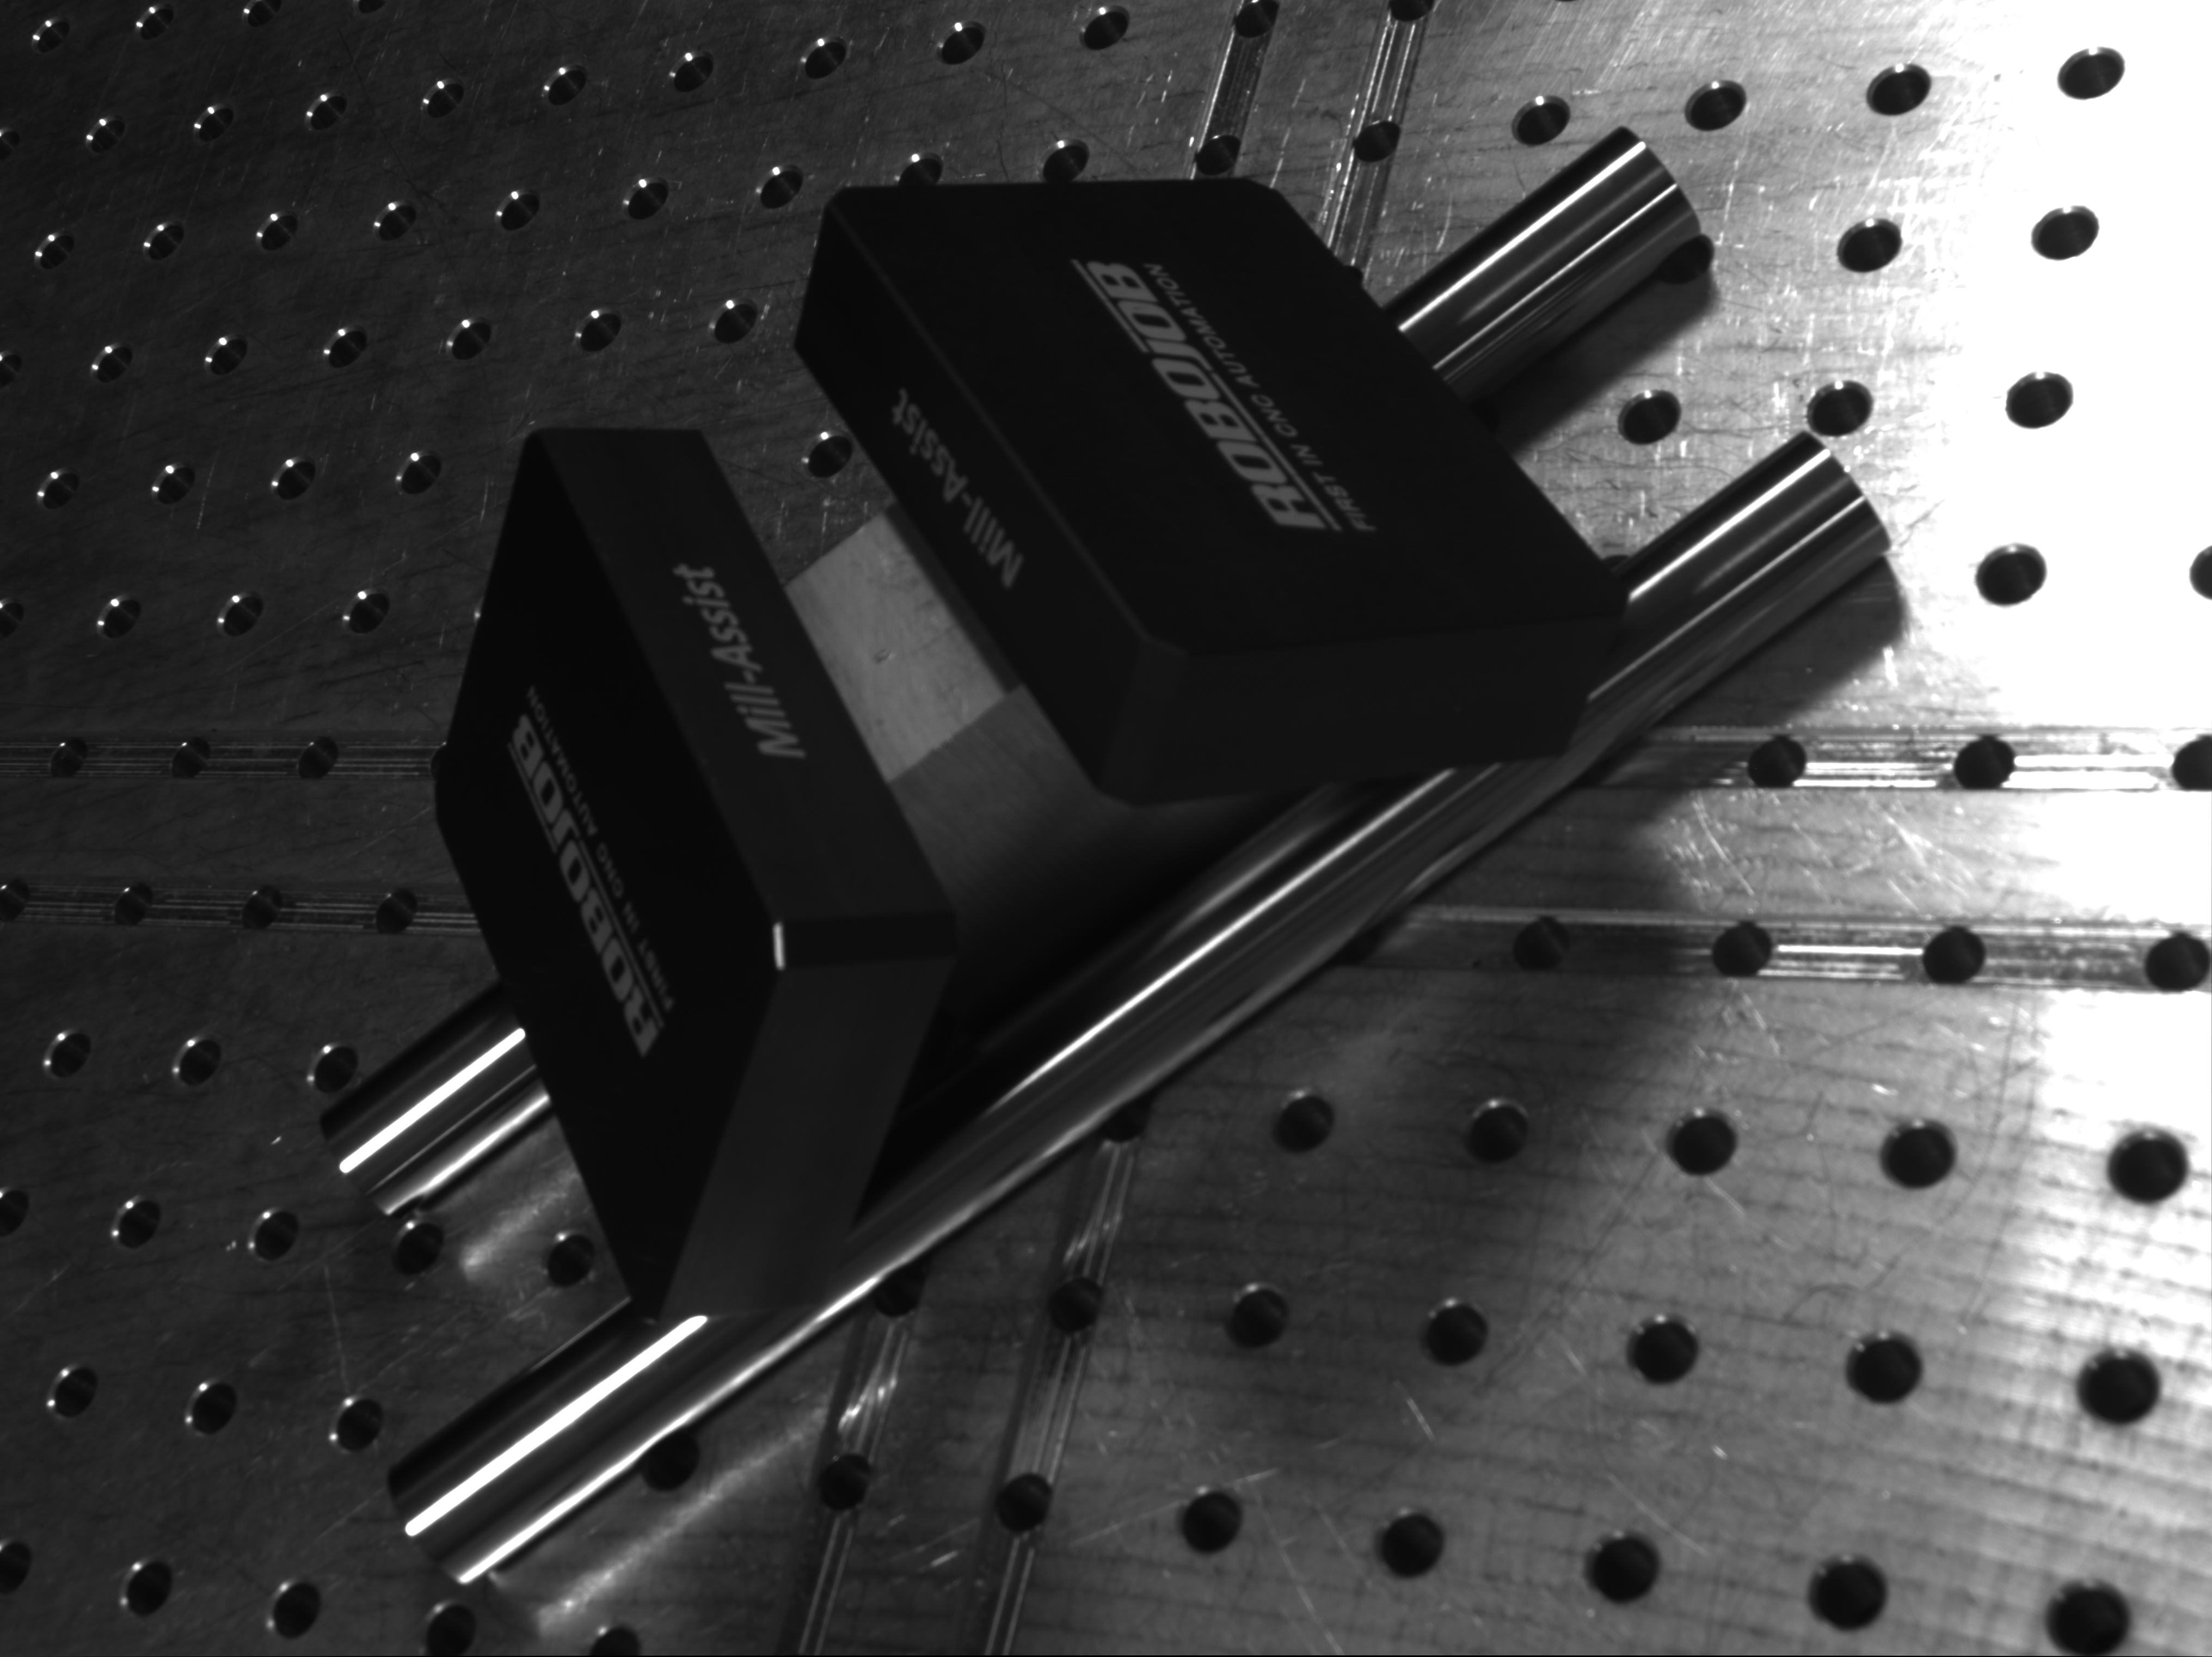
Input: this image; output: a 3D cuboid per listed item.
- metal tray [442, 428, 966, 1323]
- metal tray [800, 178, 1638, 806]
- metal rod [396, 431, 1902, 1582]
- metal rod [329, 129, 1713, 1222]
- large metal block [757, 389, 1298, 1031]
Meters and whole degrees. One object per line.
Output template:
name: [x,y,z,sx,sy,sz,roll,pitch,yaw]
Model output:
metal tray: [-0.071,0.006,0.612,0.130,0.030,0.090,60,141,39]
metal tray: [0.016,-0.060,0.605,0.090,0.030,0.130,-7,44,-30]
metal rod: [0.005,0.032,0.625,0.300,0.025,0.025,-36,51,4]
metal rod: [-0.017,-0.027,0.674,0.300,0.025,0.025,-37,51,3]
large metal block: [-0.011,-0.017,0.627,0.080,0.080,0.050,-36,51,4]
